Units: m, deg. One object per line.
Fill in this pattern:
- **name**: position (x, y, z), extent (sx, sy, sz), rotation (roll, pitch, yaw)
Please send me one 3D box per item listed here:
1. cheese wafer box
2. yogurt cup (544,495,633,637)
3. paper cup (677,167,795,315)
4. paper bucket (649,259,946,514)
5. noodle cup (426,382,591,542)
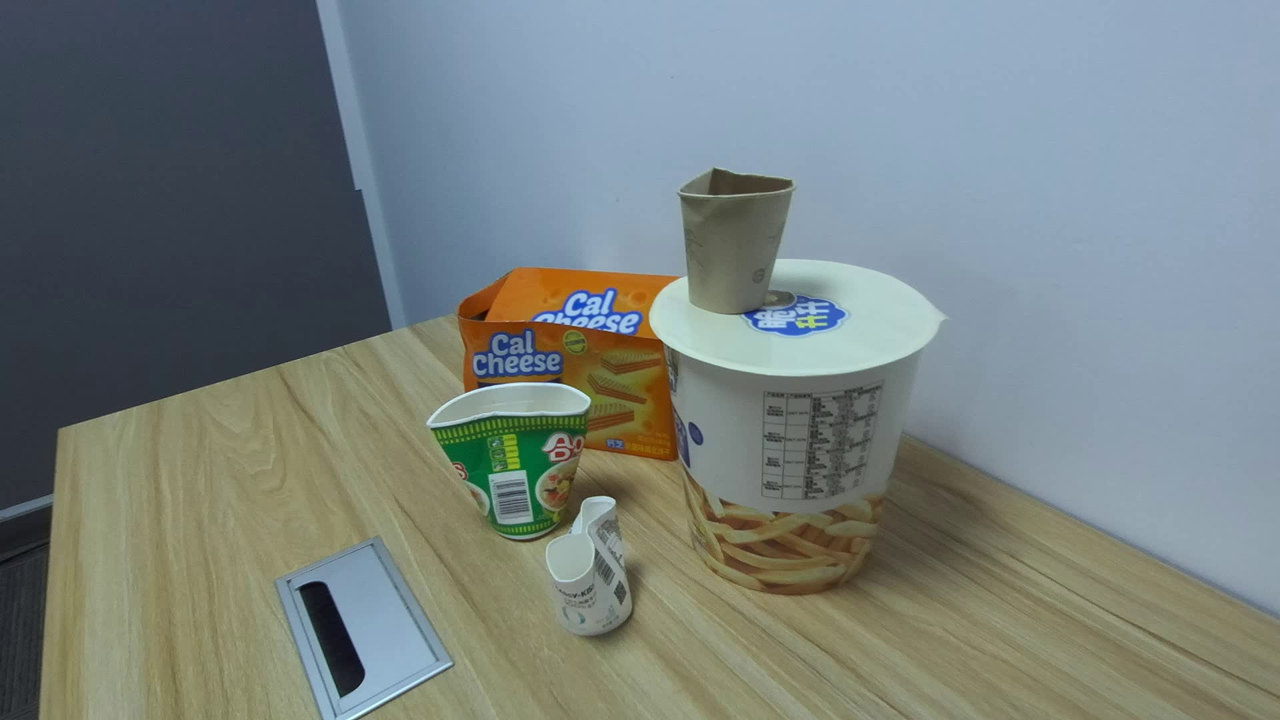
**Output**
- **cheese wafer box**: position (-0.055, -0.003, 0.713), extent (0.230, 0.132, 0.152), rotation (7, 31, 18)
- **yogurt cup**: position (-0.034, 0.144, 0.483), extent (0.054, 0.071, 0.075), rotation (-8, 30, -8)
- **paper cup**: position (0.061, -0.078, 0.469), extent (0.071, 0.084, 0.066), rotation (14, 33, 22)
- **paper bucket**: position (0.106, 0.048, 0.519), extent (0.198, 0.195, 0.198), rotation (-3, 28, 2)
- **noodle cup**: position (-0.095, 0.080, 0.569), extent (0.115, 0.111, 0.070), rotation (6, 32, 18)
